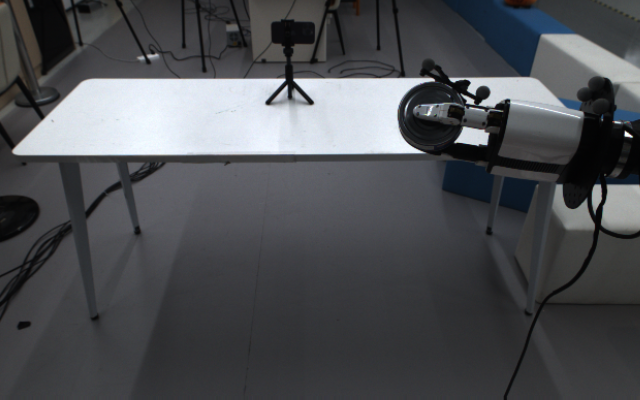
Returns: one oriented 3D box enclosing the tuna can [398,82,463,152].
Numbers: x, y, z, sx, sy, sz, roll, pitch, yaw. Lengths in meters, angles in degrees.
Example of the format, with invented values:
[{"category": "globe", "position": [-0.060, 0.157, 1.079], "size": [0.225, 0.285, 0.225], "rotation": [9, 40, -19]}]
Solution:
[{"category": "tuna can", "position": [0.145, -0.110, 0.629], "size": [0.085, 0.085, 0.034], "rotation": [13, -4, 15]}]
